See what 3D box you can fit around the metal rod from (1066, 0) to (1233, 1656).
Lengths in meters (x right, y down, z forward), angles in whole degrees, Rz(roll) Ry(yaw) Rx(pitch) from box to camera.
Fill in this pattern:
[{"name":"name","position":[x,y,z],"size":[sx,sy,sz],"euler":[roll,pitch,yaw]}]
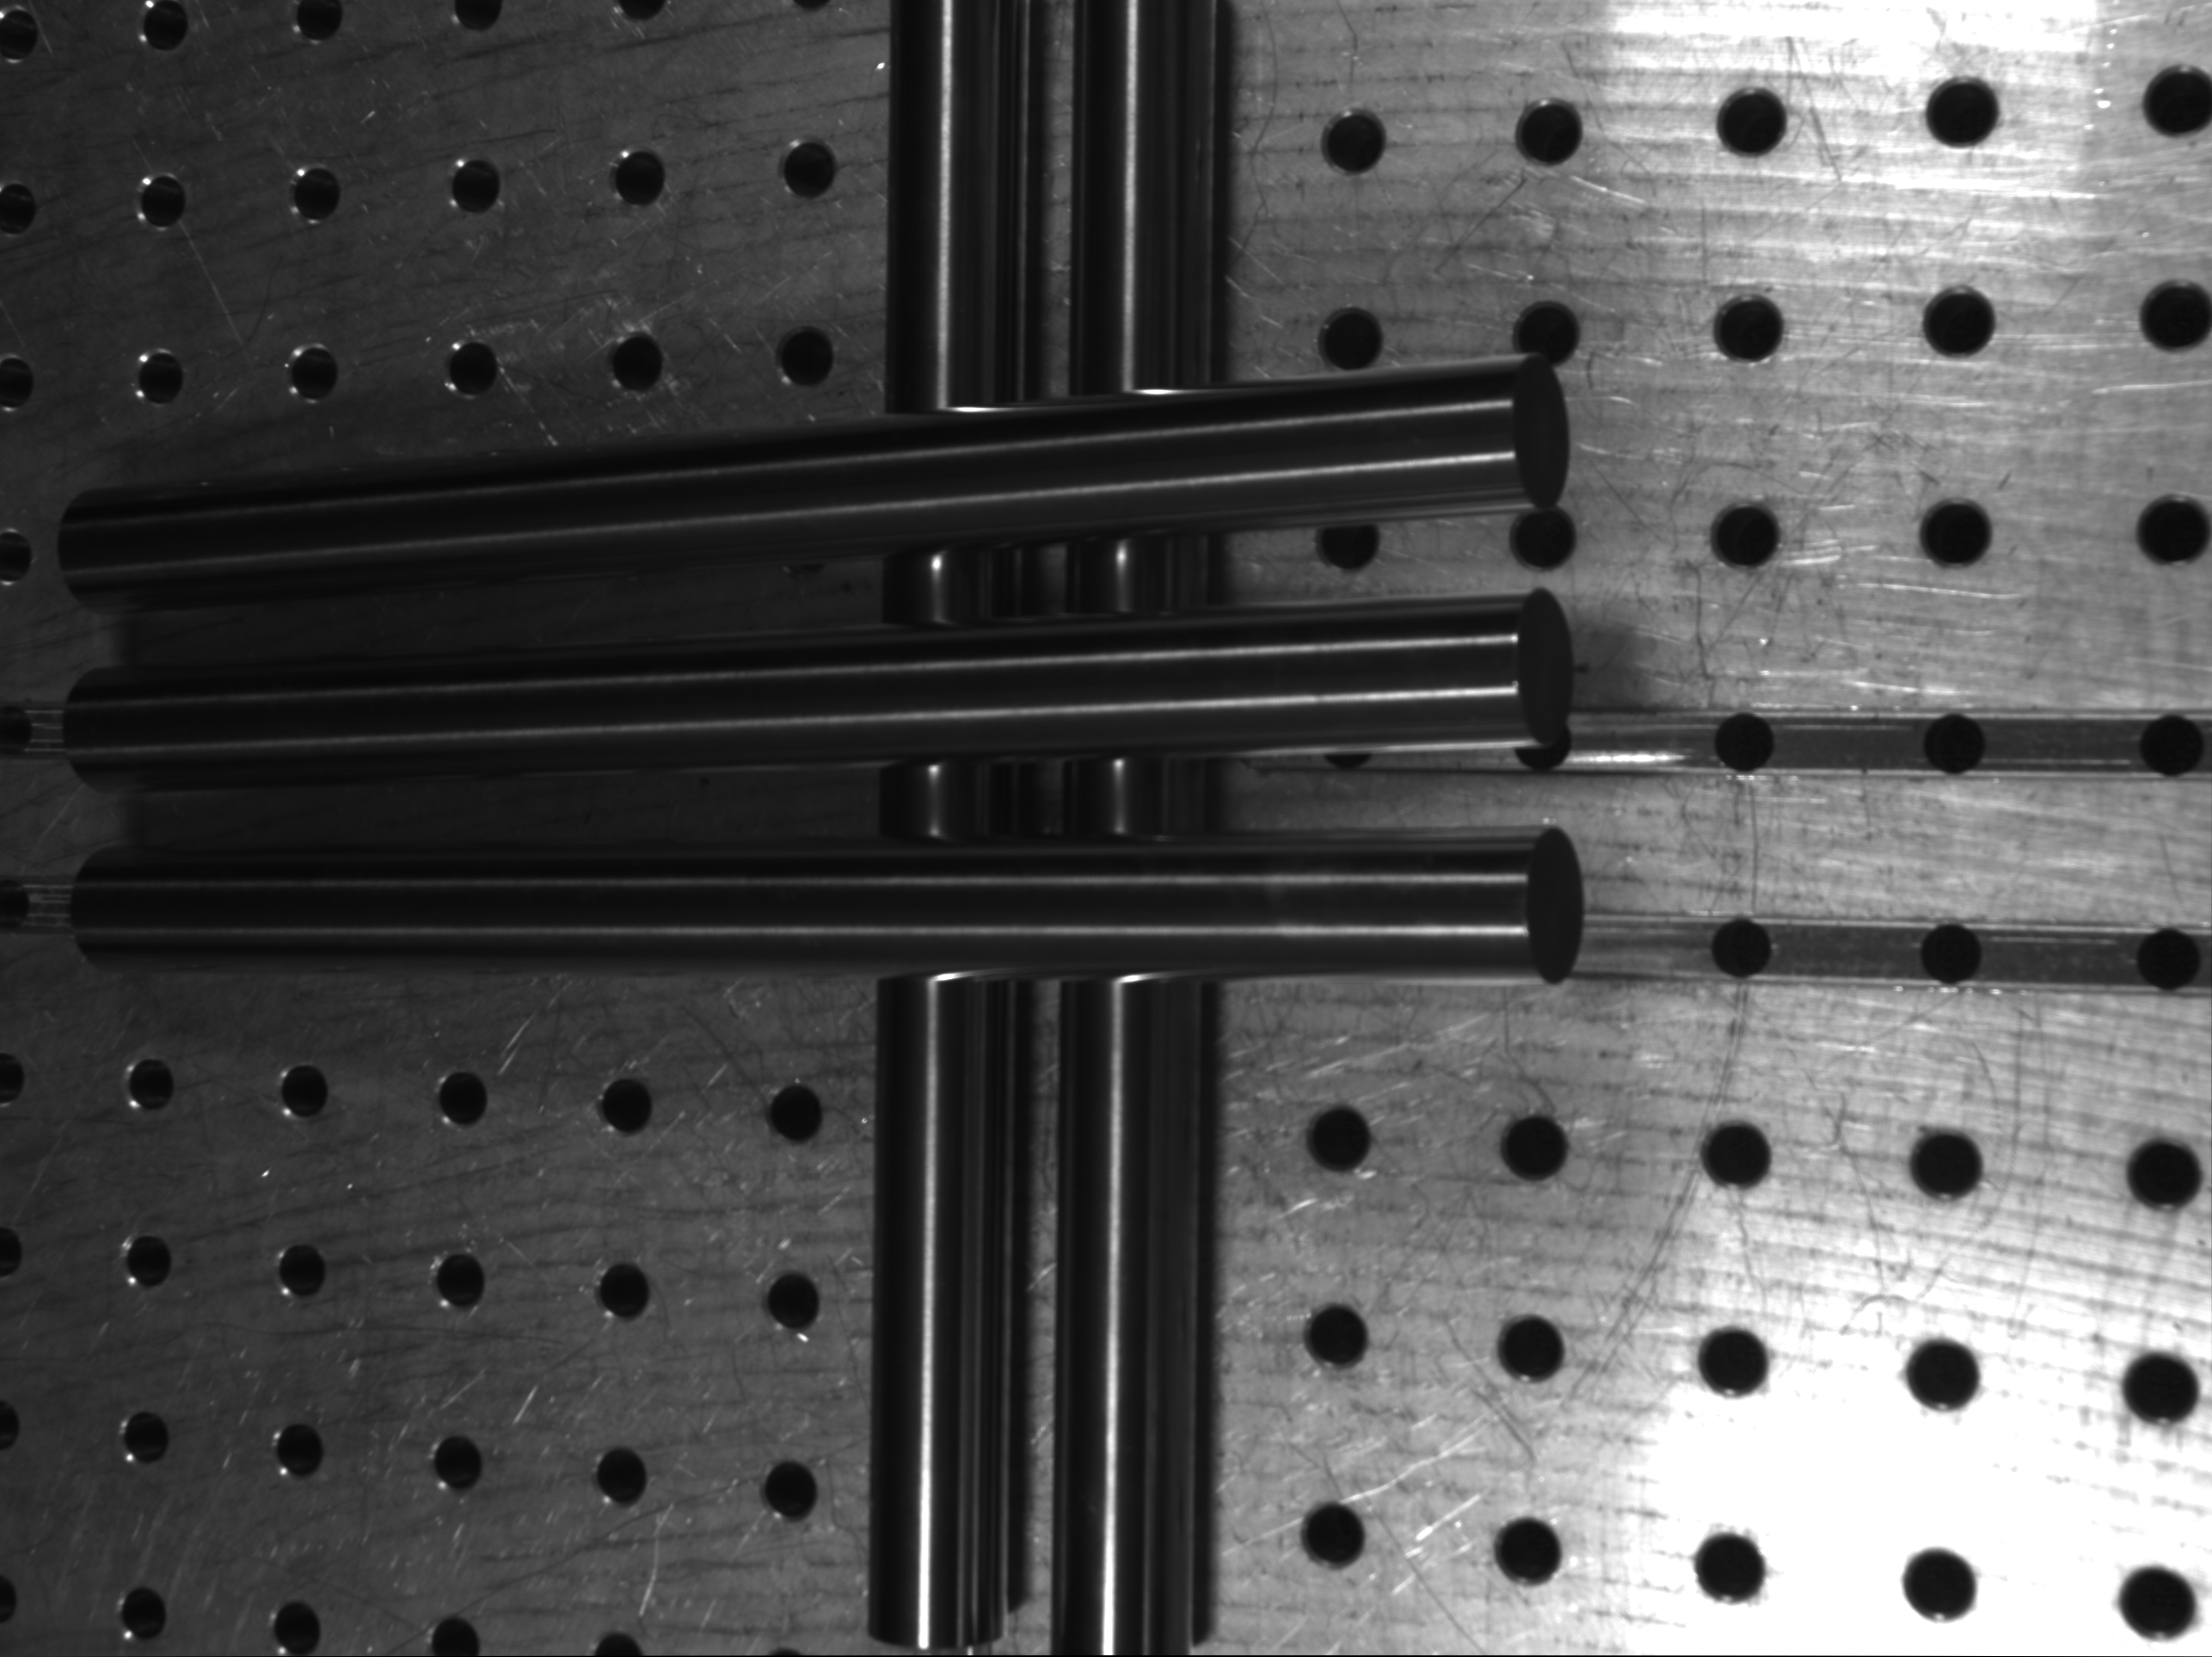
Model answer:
[{"name":"metal rod","position":[0.008,-0.002,0.644],"size":[0.025,0.025,0.300],"euler":[1,90,20]}]

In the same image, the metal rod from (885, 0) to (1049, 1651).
[{"name":"metal rod","position":[-0.025,-0.005,0.656],"size":[0.025,0.025,0.300],"euler":[1,90,20]}]

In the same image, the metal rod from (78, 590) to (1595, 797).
[{"name":"metal rod","position":[-0.060,-0.022,0.646],"size":[0.299,0.025,0.025],"euler":[-1,89,28]}]

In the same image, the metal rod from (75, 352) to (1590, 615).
[{"name":"metal rod","position":[-0.060,-0.058,0.647],"size":[0.299,0.025,0.025],"euler":[-2,89,28]}]

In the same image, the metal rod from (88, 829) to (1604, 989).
[{"name":"metal rod","position":[-0.058,0.014,0.645],"size":[0.299,0.025,0.025],"euler":[-1,90,28]}]
